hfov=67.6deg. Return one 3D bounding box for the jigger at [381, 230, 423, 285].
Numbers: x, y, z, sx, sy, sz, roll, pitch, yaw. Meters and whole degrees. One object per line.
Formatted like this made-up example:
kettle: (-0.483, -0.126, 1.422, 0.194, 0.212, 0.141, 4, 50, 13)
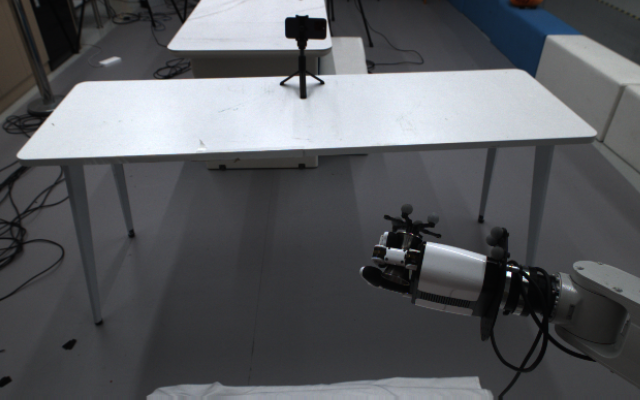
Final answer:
jigger: (0.120, 0.081, 0.703, 0.043, 0.043, 0.071, 16, 70, 19)
